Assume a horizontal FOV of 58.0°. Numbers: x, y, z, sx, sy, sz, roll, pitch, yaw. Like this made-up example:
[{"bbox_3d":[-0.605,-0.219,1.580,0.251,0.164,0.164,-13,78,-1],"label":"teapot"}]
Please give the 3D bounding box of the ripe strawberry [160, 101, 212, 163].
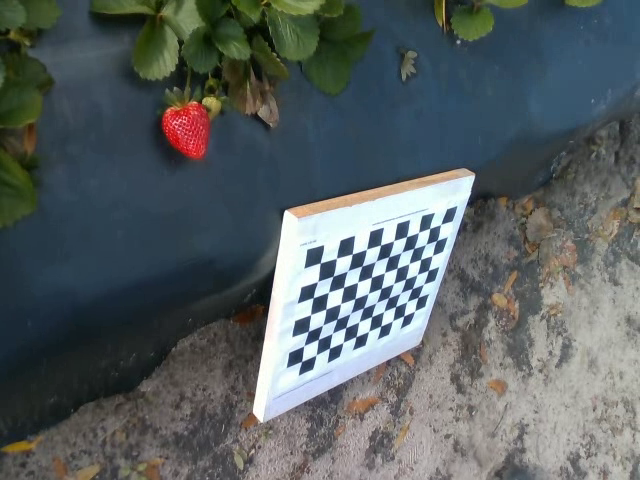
[{"bbox_3d":[-0.112,-0.090,0.488,0.045,0.058,0.050,-12,-13,-39],"label":"ripe strawberry"}]
